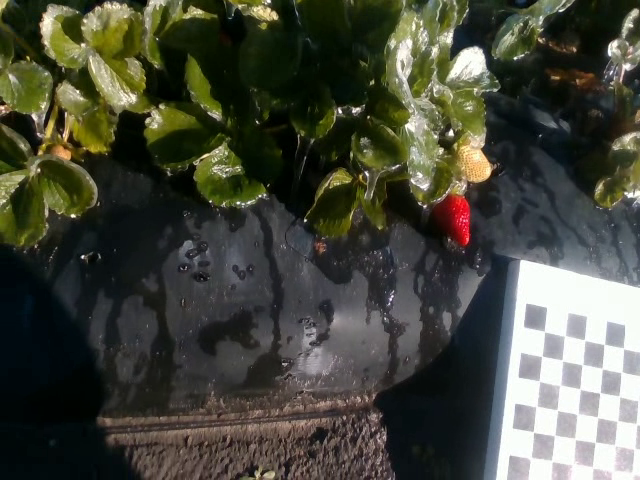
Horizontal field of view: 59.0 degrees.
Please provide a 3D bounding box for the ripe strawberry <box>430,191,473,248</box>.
[{"bbox_3d":[0.137,-0.020,0.543,0.041,0.052,0.040,-5,-14,-17],"label":"ripe strawberry"}]
